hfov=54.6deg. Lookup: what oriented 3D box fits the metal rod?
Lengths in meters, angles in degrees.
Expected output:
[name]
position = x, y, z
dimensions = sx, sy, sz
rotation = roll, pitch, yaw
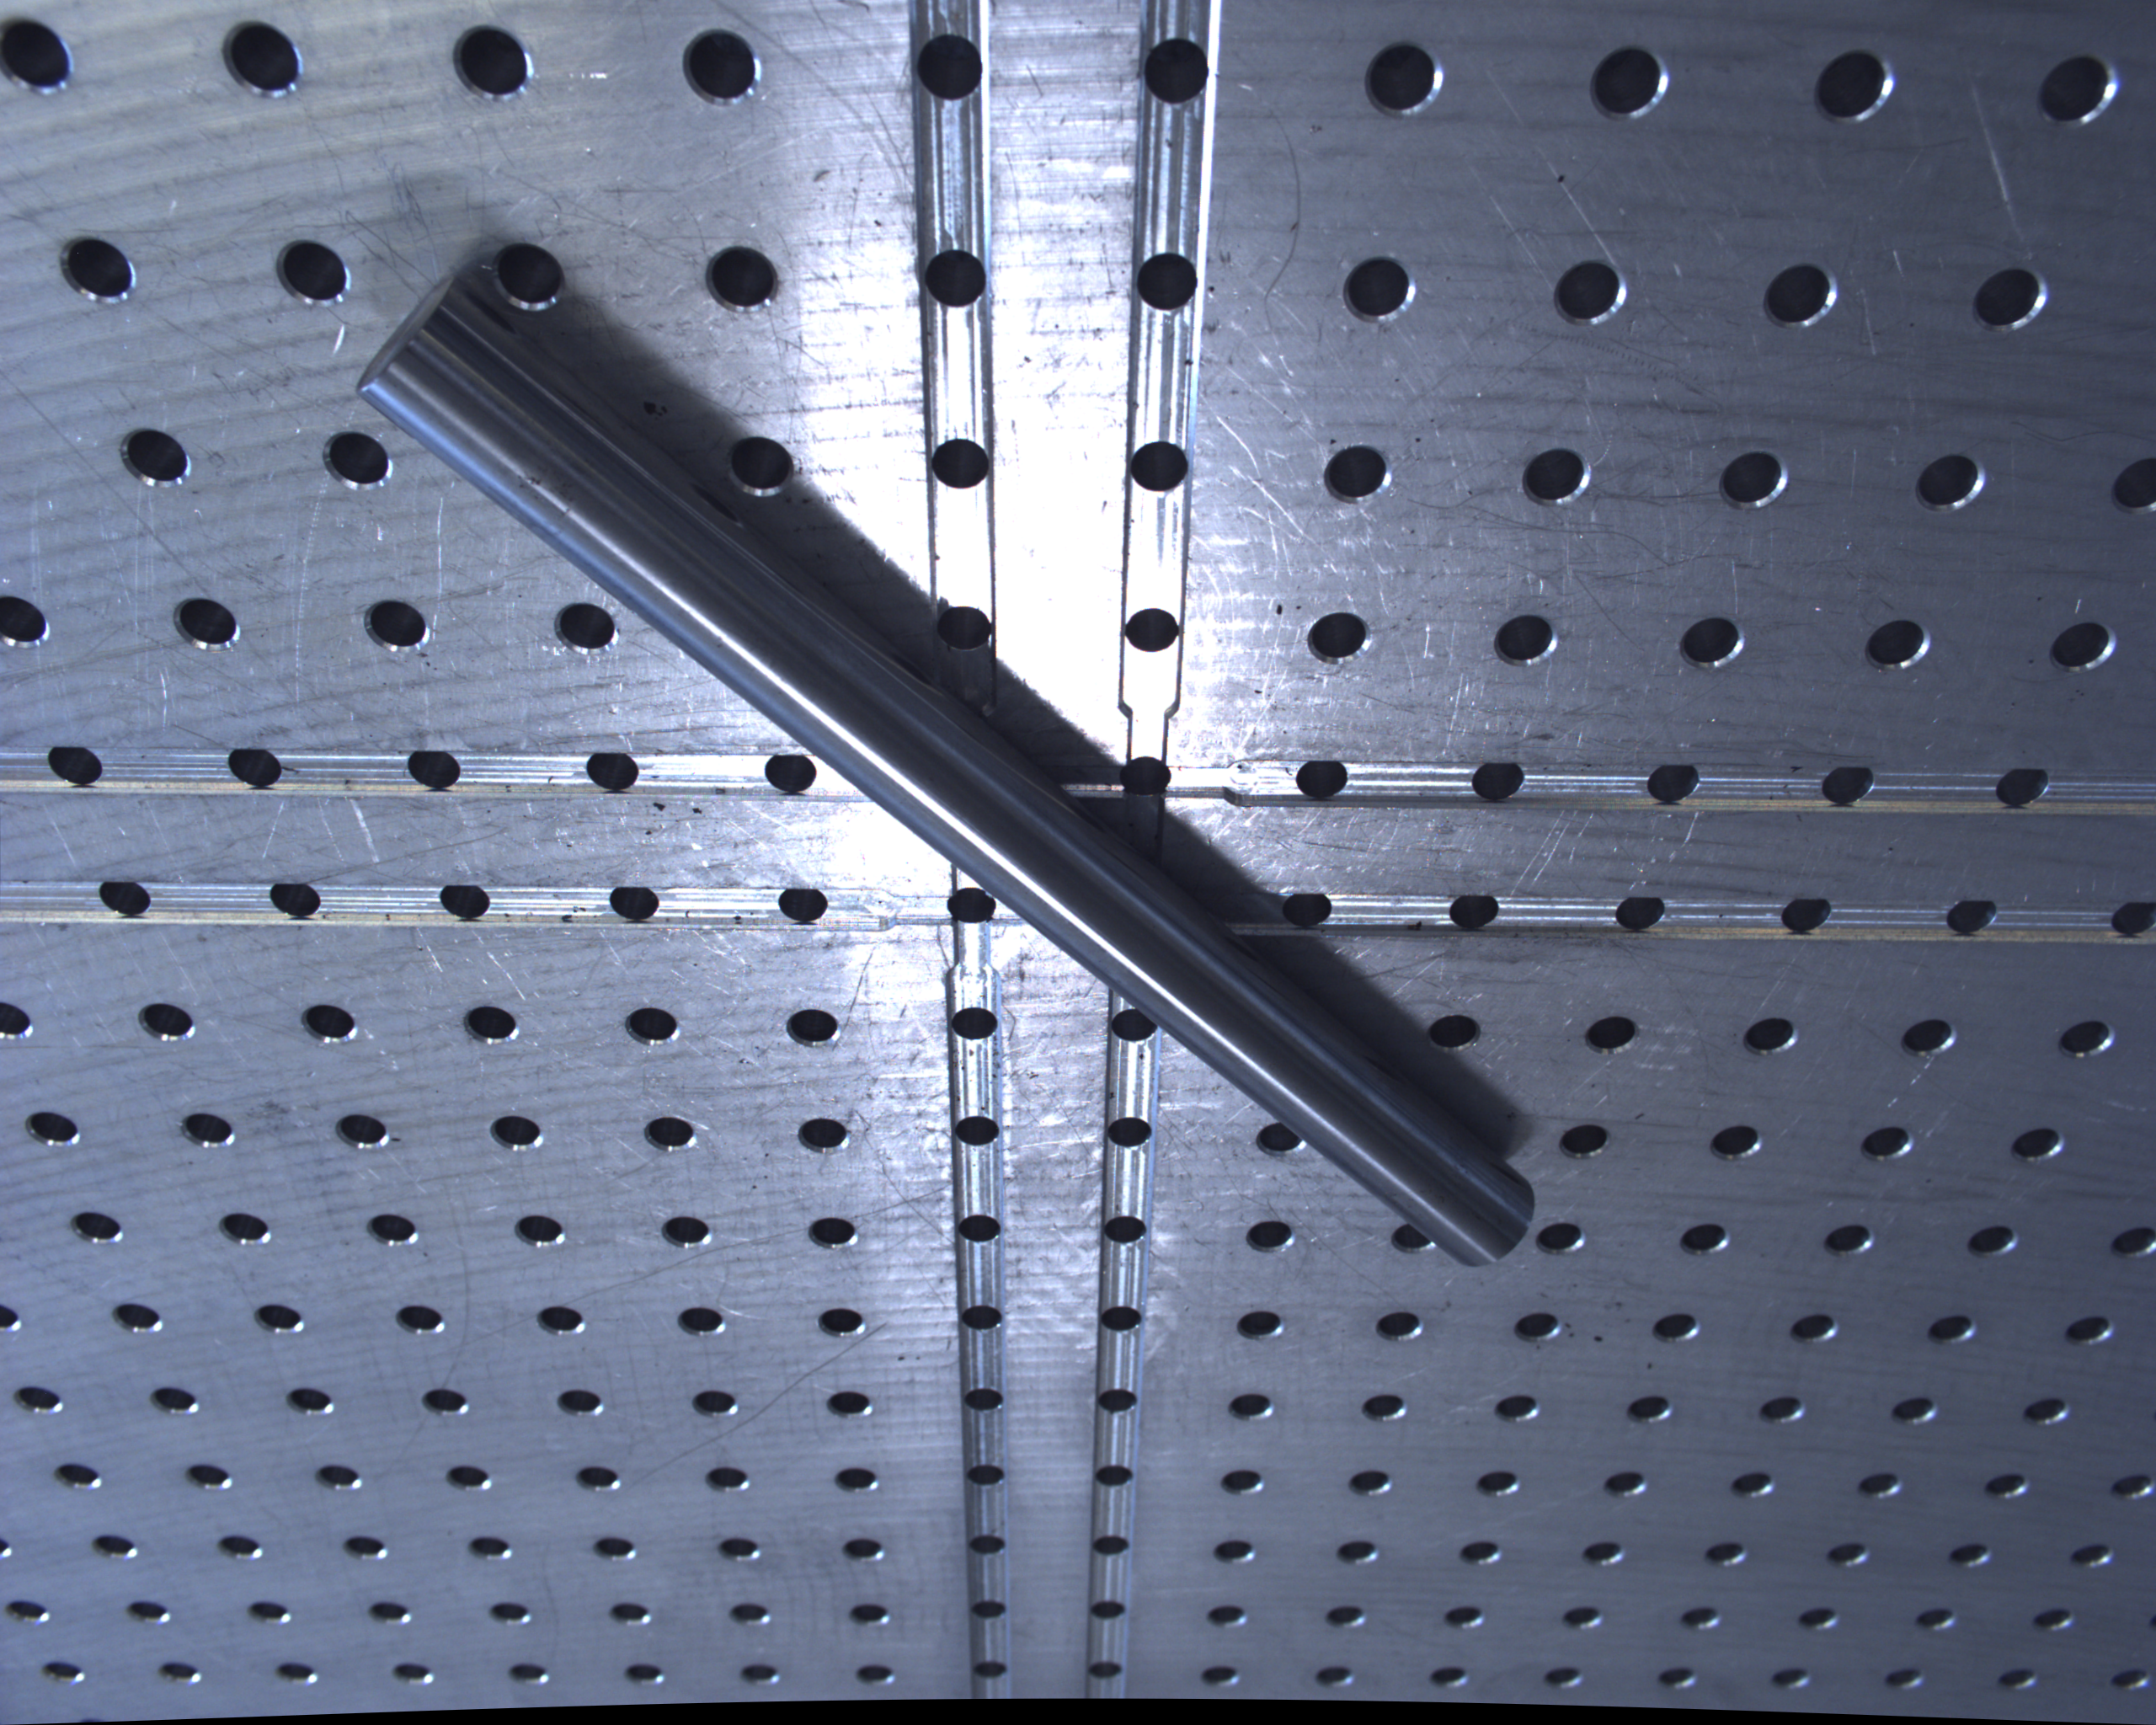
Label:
[metal rod]
position = -0.007, -0.002, 0.410
dimensions = 0.025, 0.025, 0.301
rotation = -35, 122, 26
